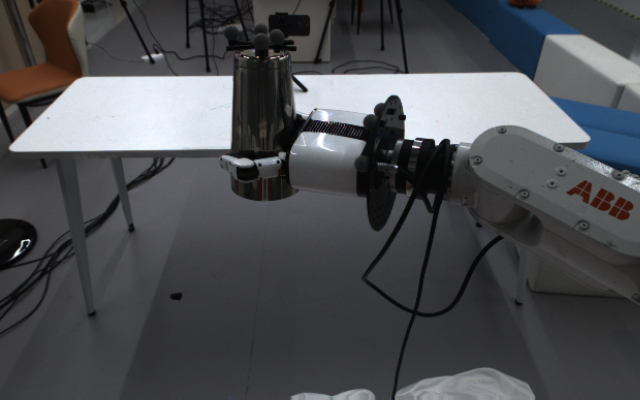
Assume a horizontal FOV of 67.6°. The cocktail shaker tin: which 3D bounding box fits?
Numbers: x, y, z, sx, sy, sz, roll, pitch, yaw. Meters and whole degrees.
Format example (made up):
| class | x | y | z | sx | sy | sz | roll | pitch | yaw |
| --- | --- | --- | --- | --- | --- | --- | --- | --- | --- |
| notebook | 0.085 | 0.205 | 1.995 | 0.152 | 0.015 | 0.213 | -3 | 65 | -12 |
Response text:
| class | x | y | z | sx | sy | sz | roll | pitch | yaw |
| --- | --- | --- | --- | --- | --- | --- | --- | --- | --- |
| cocktail shaker tin | -0.068 | -0.094 | 0.599 | 0.093 | 0.170 | 0.093 | 1 | 28 | -1 |
